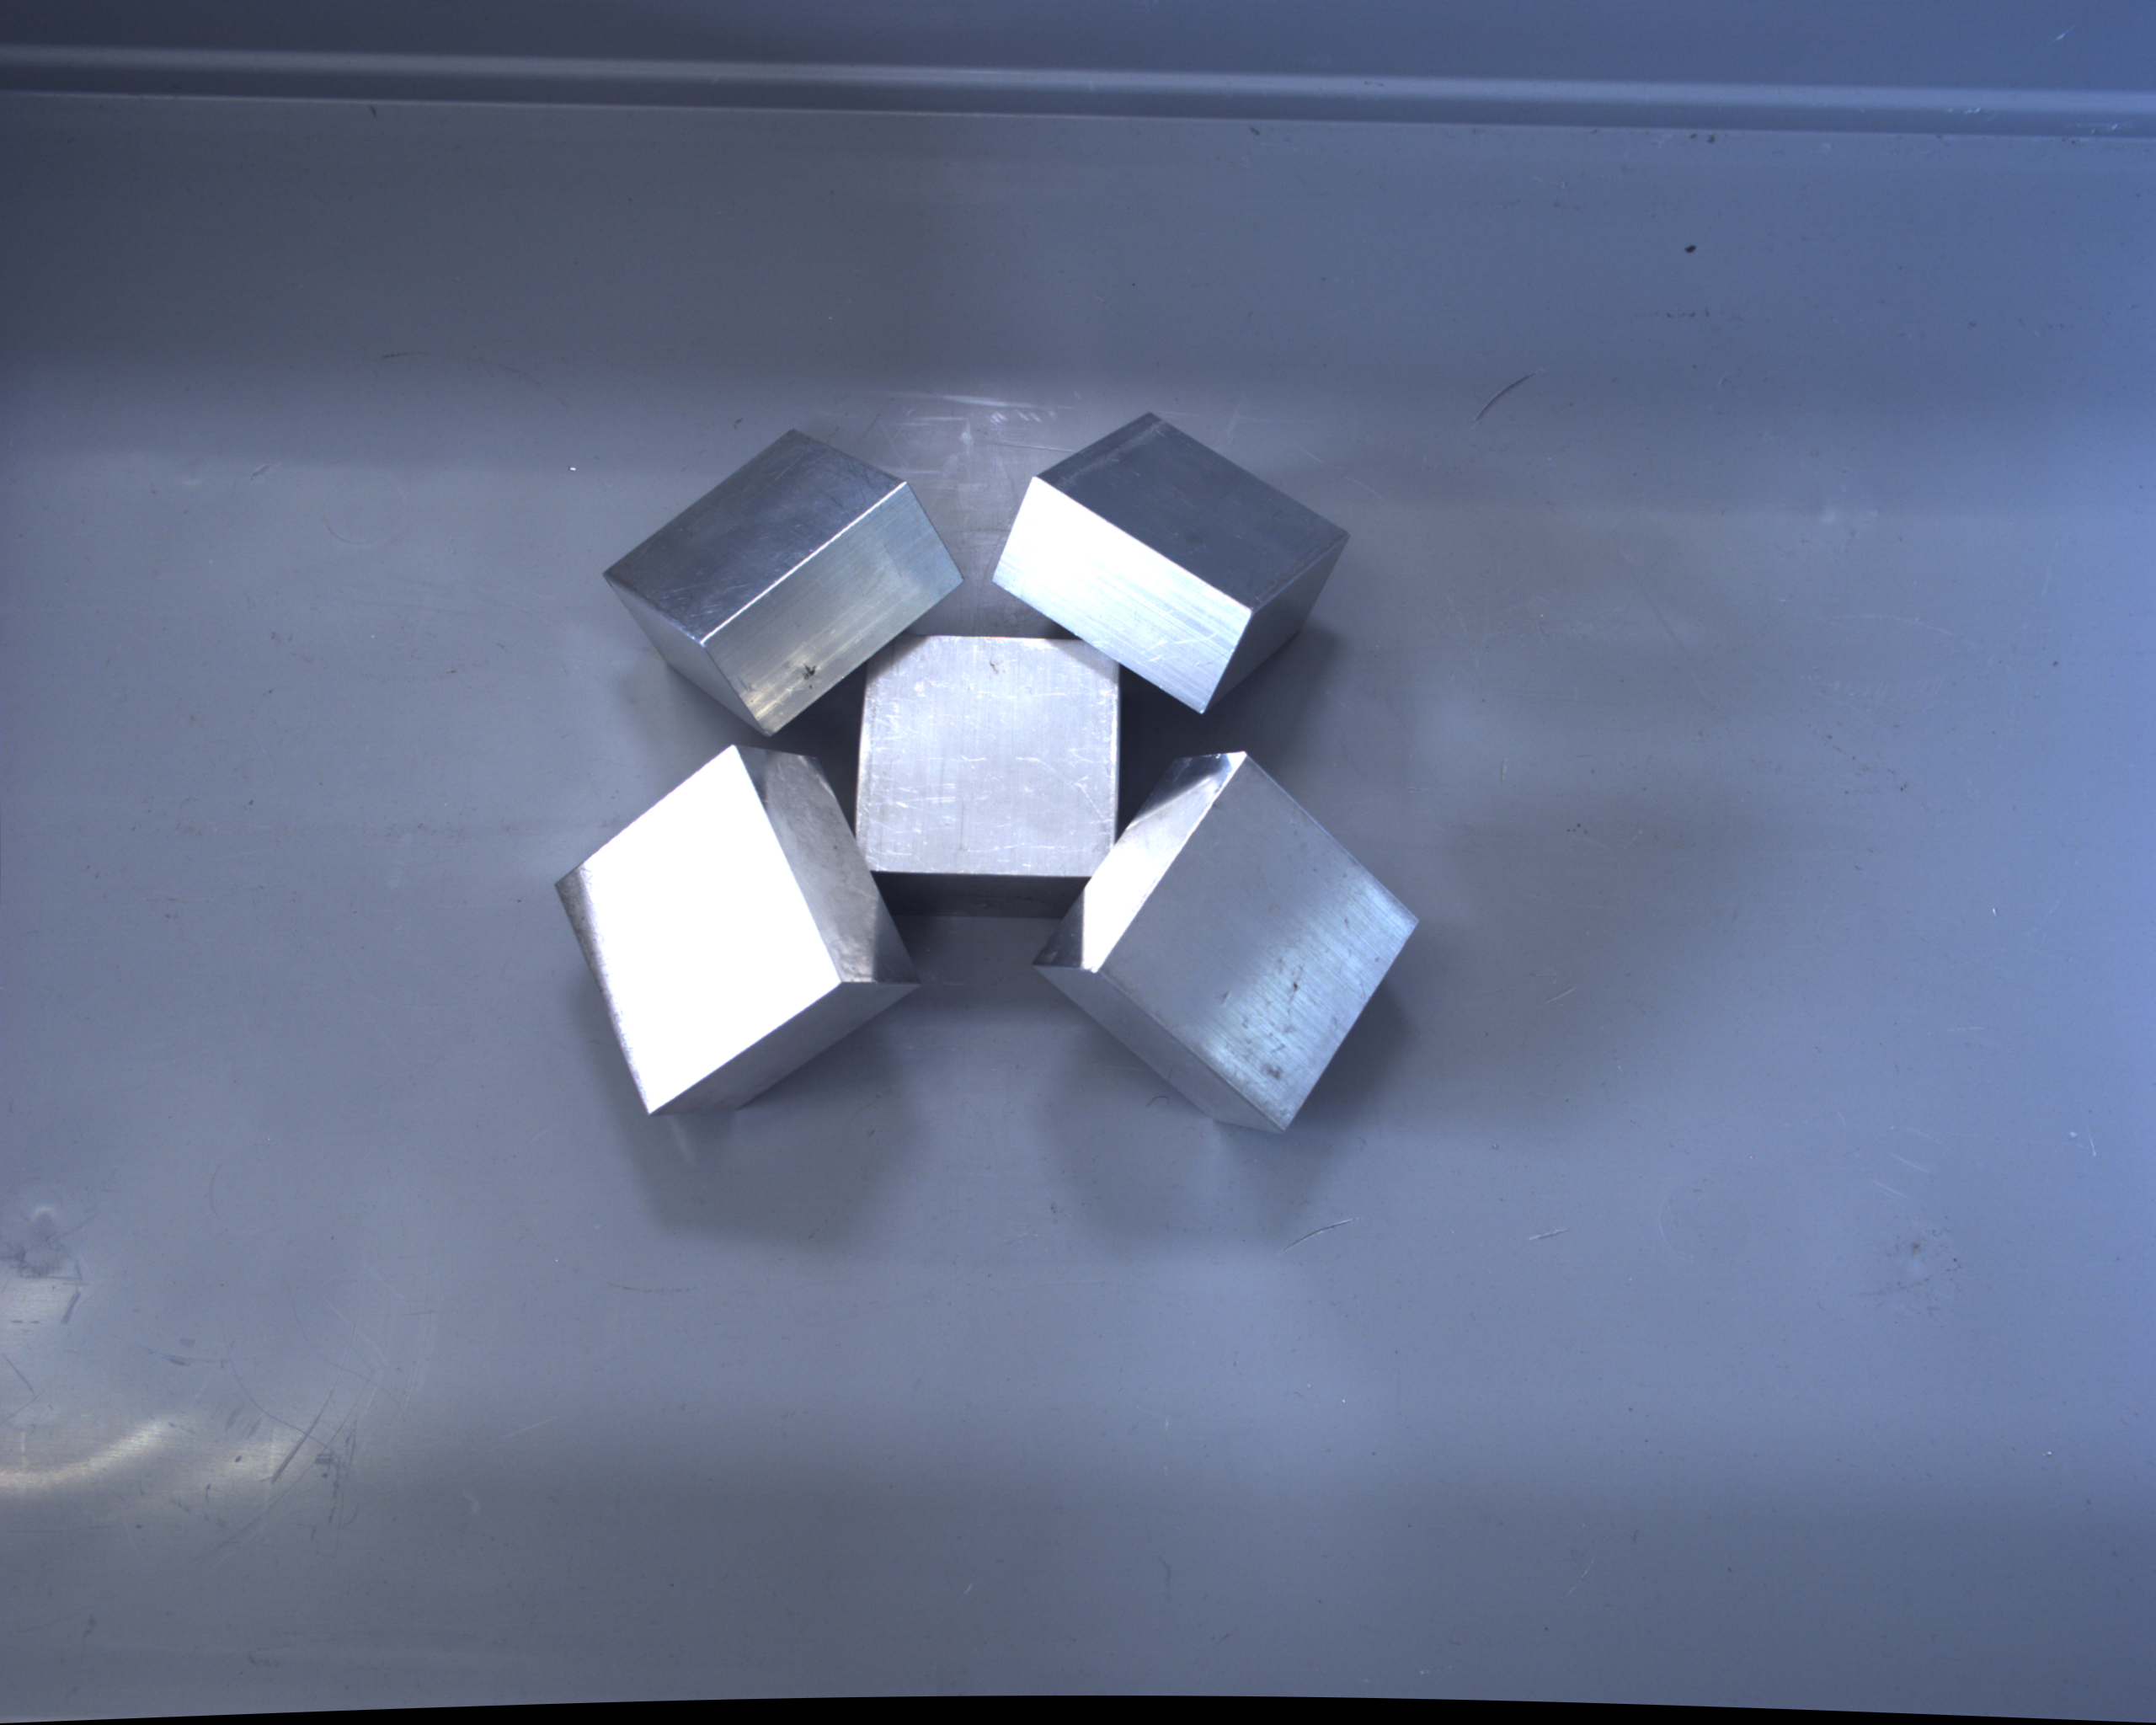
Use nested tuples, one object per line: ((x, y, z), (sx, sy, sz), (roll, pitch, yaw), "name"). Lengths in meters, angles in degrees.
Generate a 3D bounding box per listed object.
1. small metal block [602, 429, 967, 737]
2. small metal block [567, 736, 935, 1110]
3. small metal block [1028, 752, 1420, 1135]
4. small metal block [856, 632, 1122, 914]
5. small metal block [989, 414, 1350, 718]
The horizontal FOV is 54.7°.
((-0.059, -0.057, 0.414), (0.050, 0.025, 0.050), (-41, 38, -13), "small metal block")
((-0.062, 0.012, 0.390), (0.050, 0.025, 0.050), (-37, 70, 27), "small metal block")
((0.028, 0.015, 0.390), (0.050, 0.025, 0.050), (42, 72, -22), "small metal block")
((-0.017, -0.017, 0.413), (0.050, 0.025, 0.050), (2, 70, 0), "small metal block")
((0.019, -0.061, 0.417), (0.050, 0.025, 0.050), (33, 36, 11), "small metal block")
